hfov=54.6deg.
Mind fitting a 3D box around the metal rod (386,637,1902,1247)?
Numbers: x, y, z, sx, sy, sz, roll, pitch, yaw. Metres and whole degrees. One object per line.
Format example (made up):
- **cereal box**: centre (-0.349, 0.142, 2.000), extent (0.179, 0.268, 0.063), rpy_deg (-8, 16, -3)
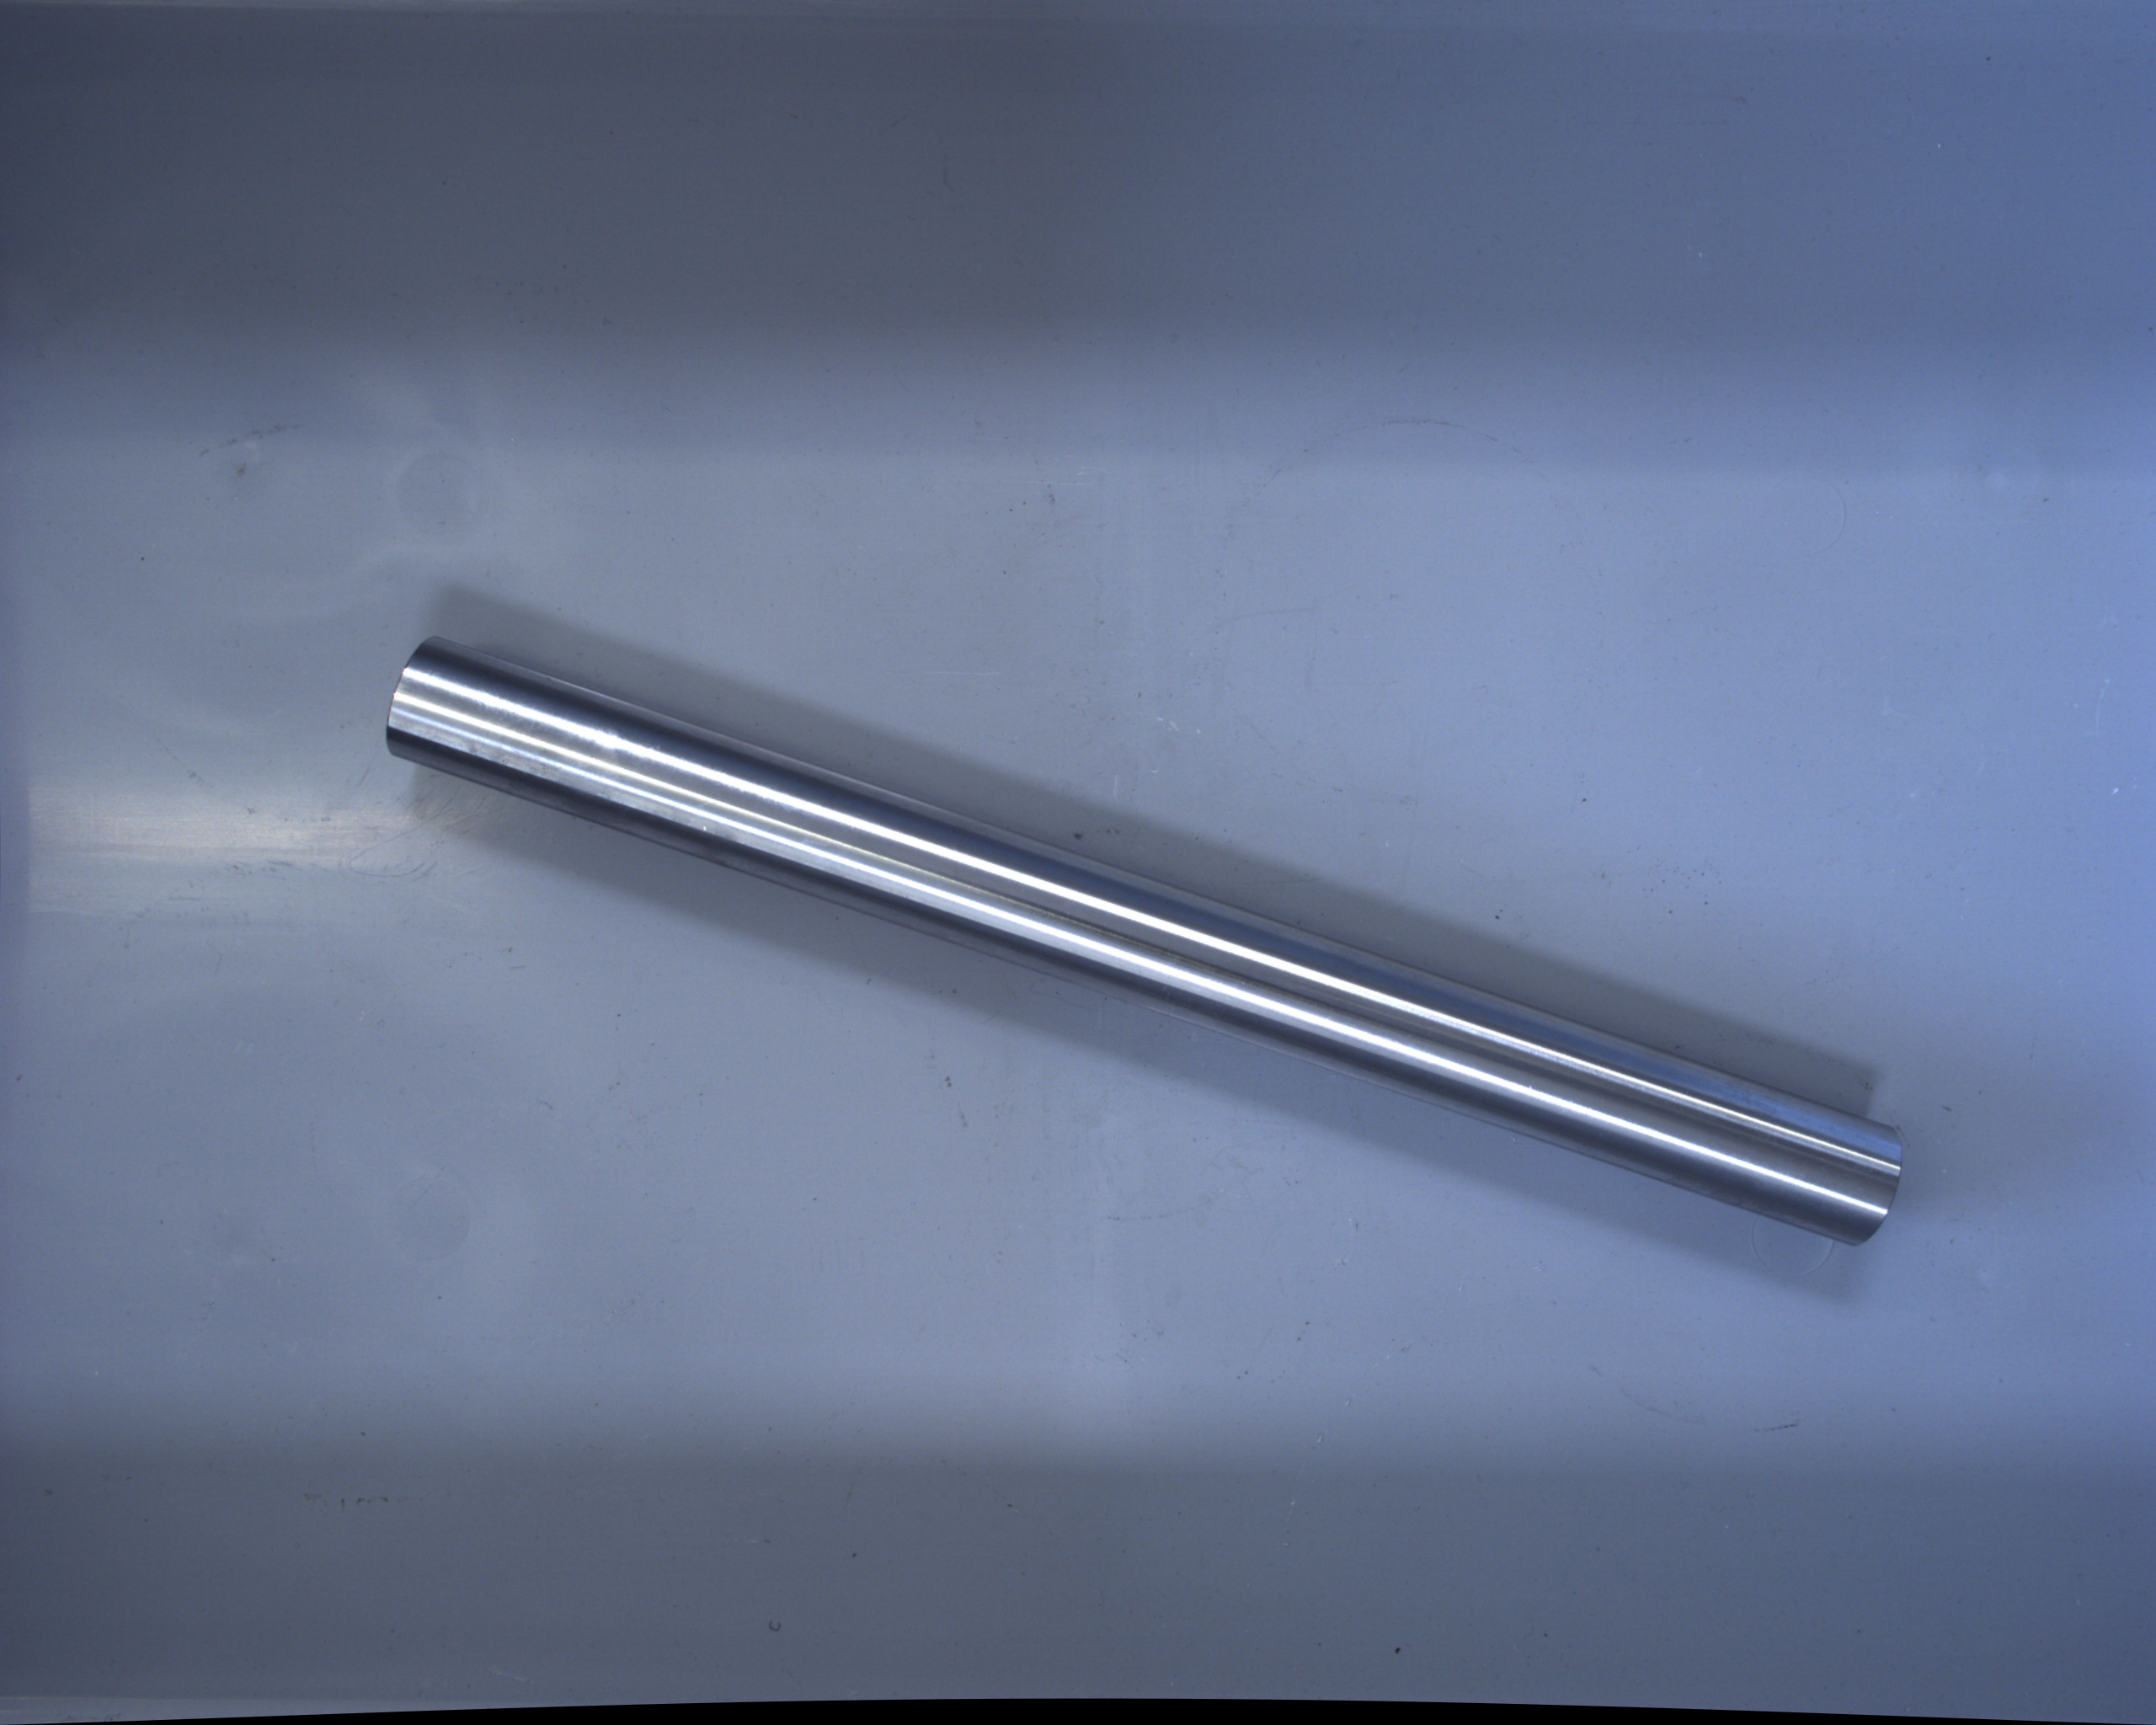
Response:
- **metal rod**: centre (0.013, 0.016, 0.410), extent (0.301, 0.025, 0.025), rpy_deg (19, 90, 0)
